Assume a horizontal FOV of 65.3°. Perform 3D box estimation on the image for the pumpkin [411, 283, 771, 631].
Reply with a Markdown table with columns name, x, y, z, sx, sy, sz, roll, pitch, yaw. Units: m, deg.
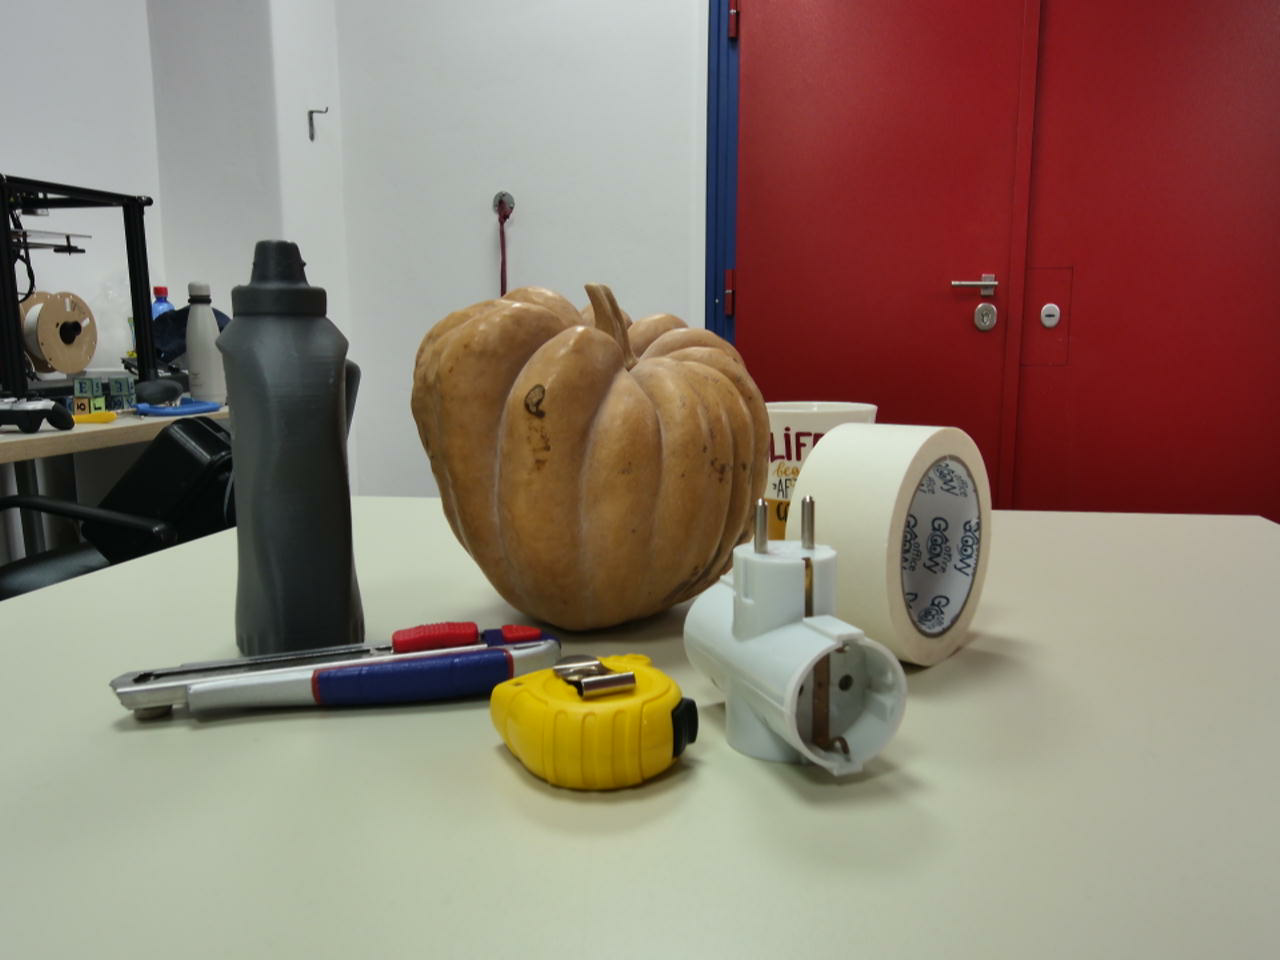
| name | x | y | z | sx | sy | sz | roll | pitch | yaw |
| --- | --- | --- | --- | --- | --- | --- | --- | --- | --- |
| pumpkin | -0.027 | -0.015 | 0.531 | 0.199 | 0.177 | 0.198 | 0 | 6 | 0 |
